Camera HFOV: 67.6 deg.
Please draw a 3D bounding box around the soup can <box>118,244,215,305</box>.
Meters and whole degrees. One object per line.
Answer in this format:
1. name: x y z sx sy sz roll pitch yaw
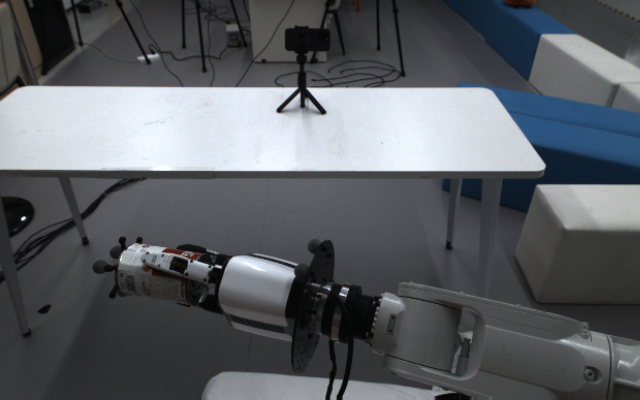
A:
1. soup can: -0.196 0.096 0.619 0.101 0.067 0.067 7 35 10
